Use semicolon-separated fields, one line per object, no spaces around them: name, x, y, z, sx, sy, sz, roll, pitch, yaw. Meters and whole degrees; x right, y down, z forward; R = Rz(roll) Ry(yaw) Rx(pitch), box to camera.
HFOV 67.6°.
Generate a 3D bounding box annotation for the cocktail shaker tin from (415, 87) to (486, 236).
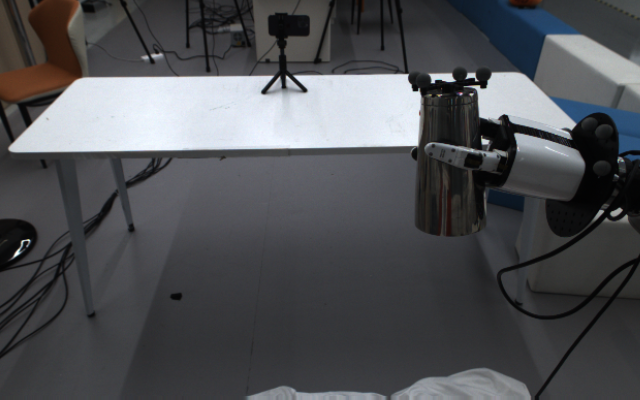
cocktail shaker tin;0.164;-0.051;0.609;0.093;0.170;0.093;-6;19;2
